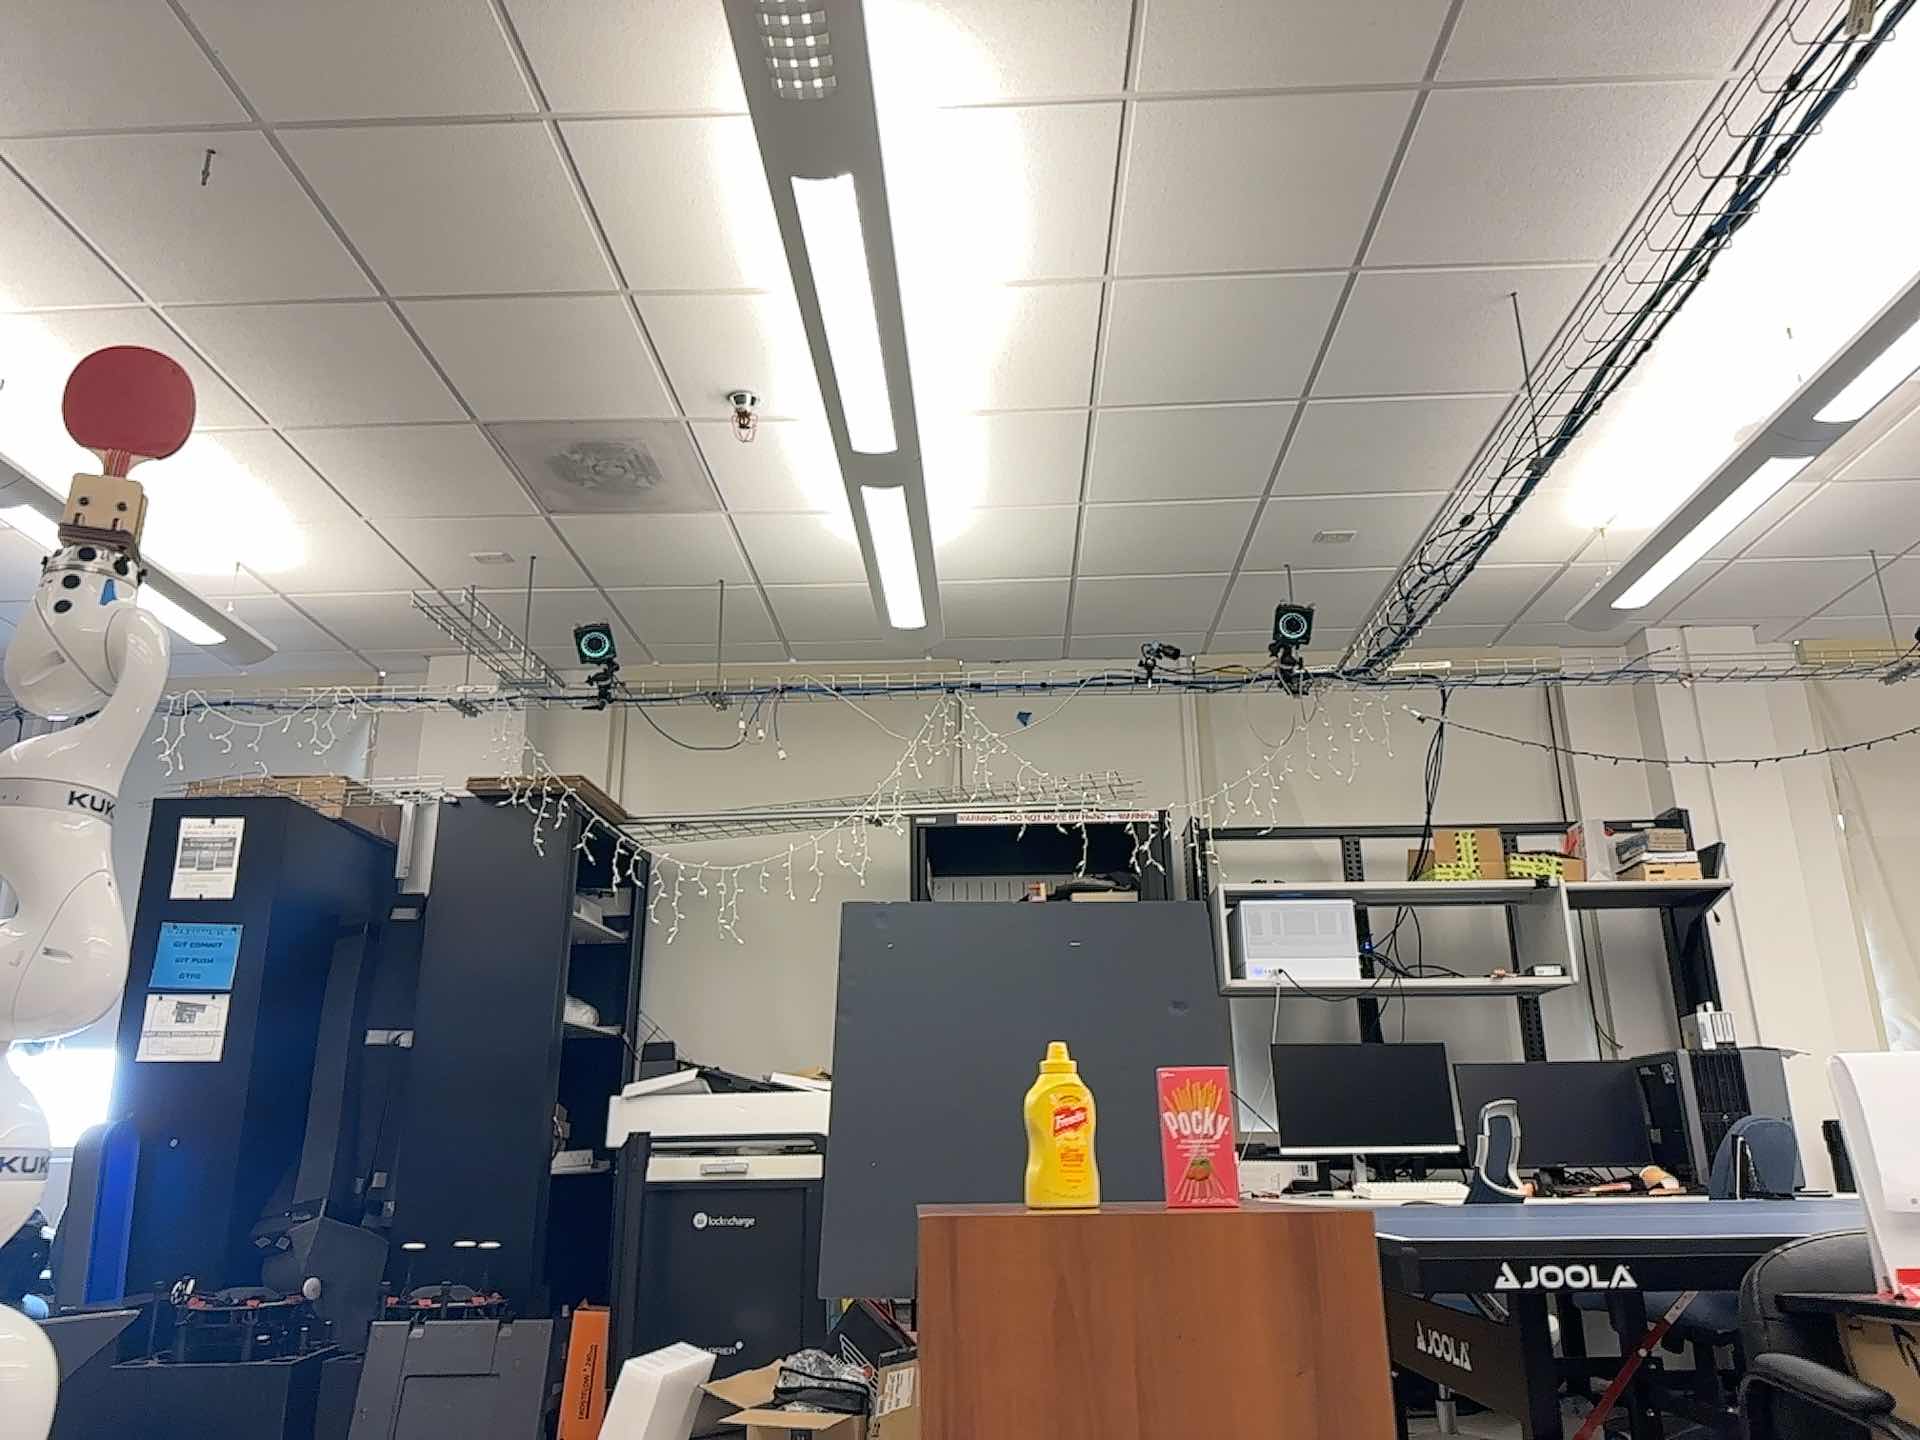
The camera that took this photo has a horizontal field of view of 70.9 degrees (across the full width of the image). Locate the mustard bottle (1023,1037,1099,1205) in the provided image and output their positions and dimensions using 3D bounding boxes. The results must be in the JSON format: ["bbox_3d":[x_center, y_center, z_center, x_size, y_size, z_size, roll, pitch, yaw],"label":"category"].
[{"bbox_3d":[0.113,0.460,1.556,0.092,0.184,0.054,8,-19,-25],"label":"mustard bottle"}]

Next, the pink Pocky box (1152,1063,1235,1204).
[{"bbox_3d":[0.269,0.478,1.563,0.084,0.154,0.029,-3,-18,8],"label":"pink Pocky box"}]
